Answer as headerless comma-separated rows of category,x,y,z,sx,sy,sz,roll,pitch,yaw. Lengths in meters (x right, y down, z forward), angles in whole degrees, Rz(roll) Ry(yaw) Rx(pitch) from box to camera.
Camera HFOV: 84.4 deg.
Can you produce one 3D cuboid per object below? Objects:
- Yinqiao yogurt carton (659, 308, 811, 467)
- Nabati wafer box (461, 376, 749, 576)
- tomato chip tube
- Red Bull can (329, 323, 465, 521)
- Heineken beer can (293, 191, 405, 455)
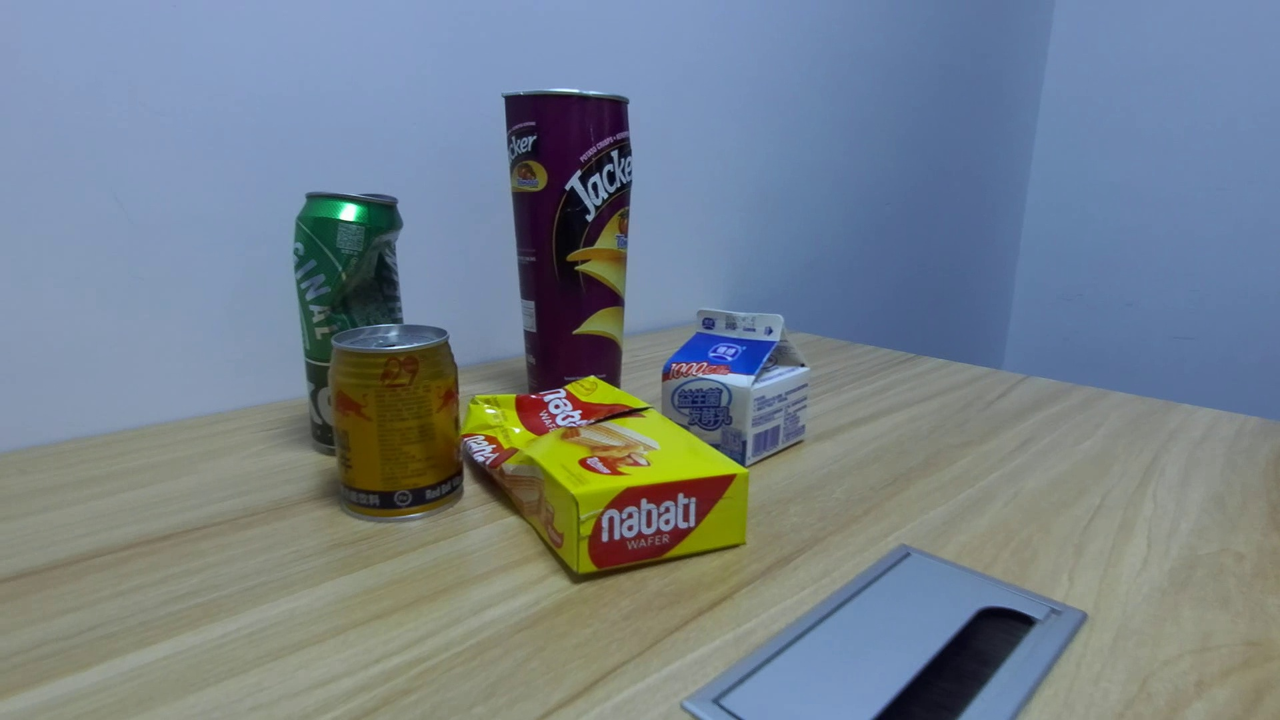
Yinqiao yogurt carton,0.064,0.011,0.475,0.075,0.092,0.074,12,19,42
Nabati wafer box,-0.036,0.054,0.411,0.107,0.042,0.203,-5,13,-26
tomato chip tube,-0.053,-0.083,0.556,0.077,0.235,0.076,7,16,29
Red Bull can,-0.132,0.032,0.385,0.067,0.093,0.067,2,14,0
Heineken beer can,-0.185,-0.024,0.457,0.078,0.164,0.065,-9,19,-41
